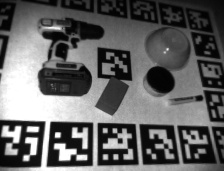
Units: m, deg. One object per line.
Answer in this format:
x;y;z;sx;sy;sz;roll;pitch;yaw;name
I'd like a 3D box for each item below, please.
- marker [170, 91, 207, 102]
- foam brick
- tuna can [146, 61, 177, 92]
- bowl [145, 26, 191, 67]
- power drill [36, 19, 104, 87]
0.227;0.032;0.636;0.122;0.019;0.019;-5;71;-19;marker
0.006;0.021;0.565;0.051;0.052;0.078;27;64;-5;foam brick
0.144;-0.024;0.628;0.086;0.033;0.085;7;66;-16;tuna can
0.189;-0.140;0.690;0.162;0.055;0.161;6;59;-10;bowl
-0.108;-0.091;0.574;0.186;0.057;0.186;4;64;-18;power drill
